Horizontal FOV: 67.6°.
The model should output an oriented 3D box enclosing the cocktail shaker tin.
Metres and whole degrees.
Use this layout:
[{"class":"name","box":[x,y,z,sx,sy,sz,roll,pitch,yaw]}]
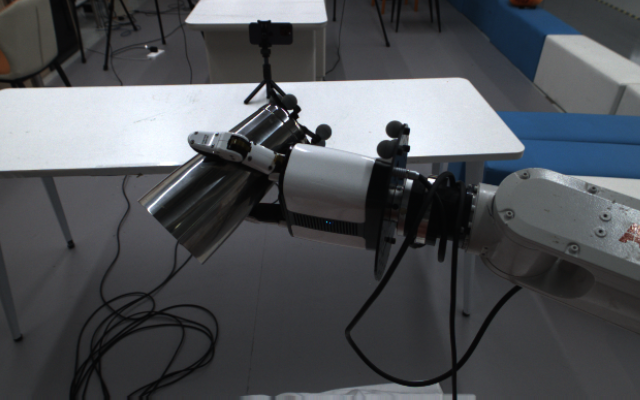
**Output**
[{"class":"cocktail shaker tin","box":[-0.094,-0.027,0.516,0.170,0.093,0.093,-43,50,-14]}]
